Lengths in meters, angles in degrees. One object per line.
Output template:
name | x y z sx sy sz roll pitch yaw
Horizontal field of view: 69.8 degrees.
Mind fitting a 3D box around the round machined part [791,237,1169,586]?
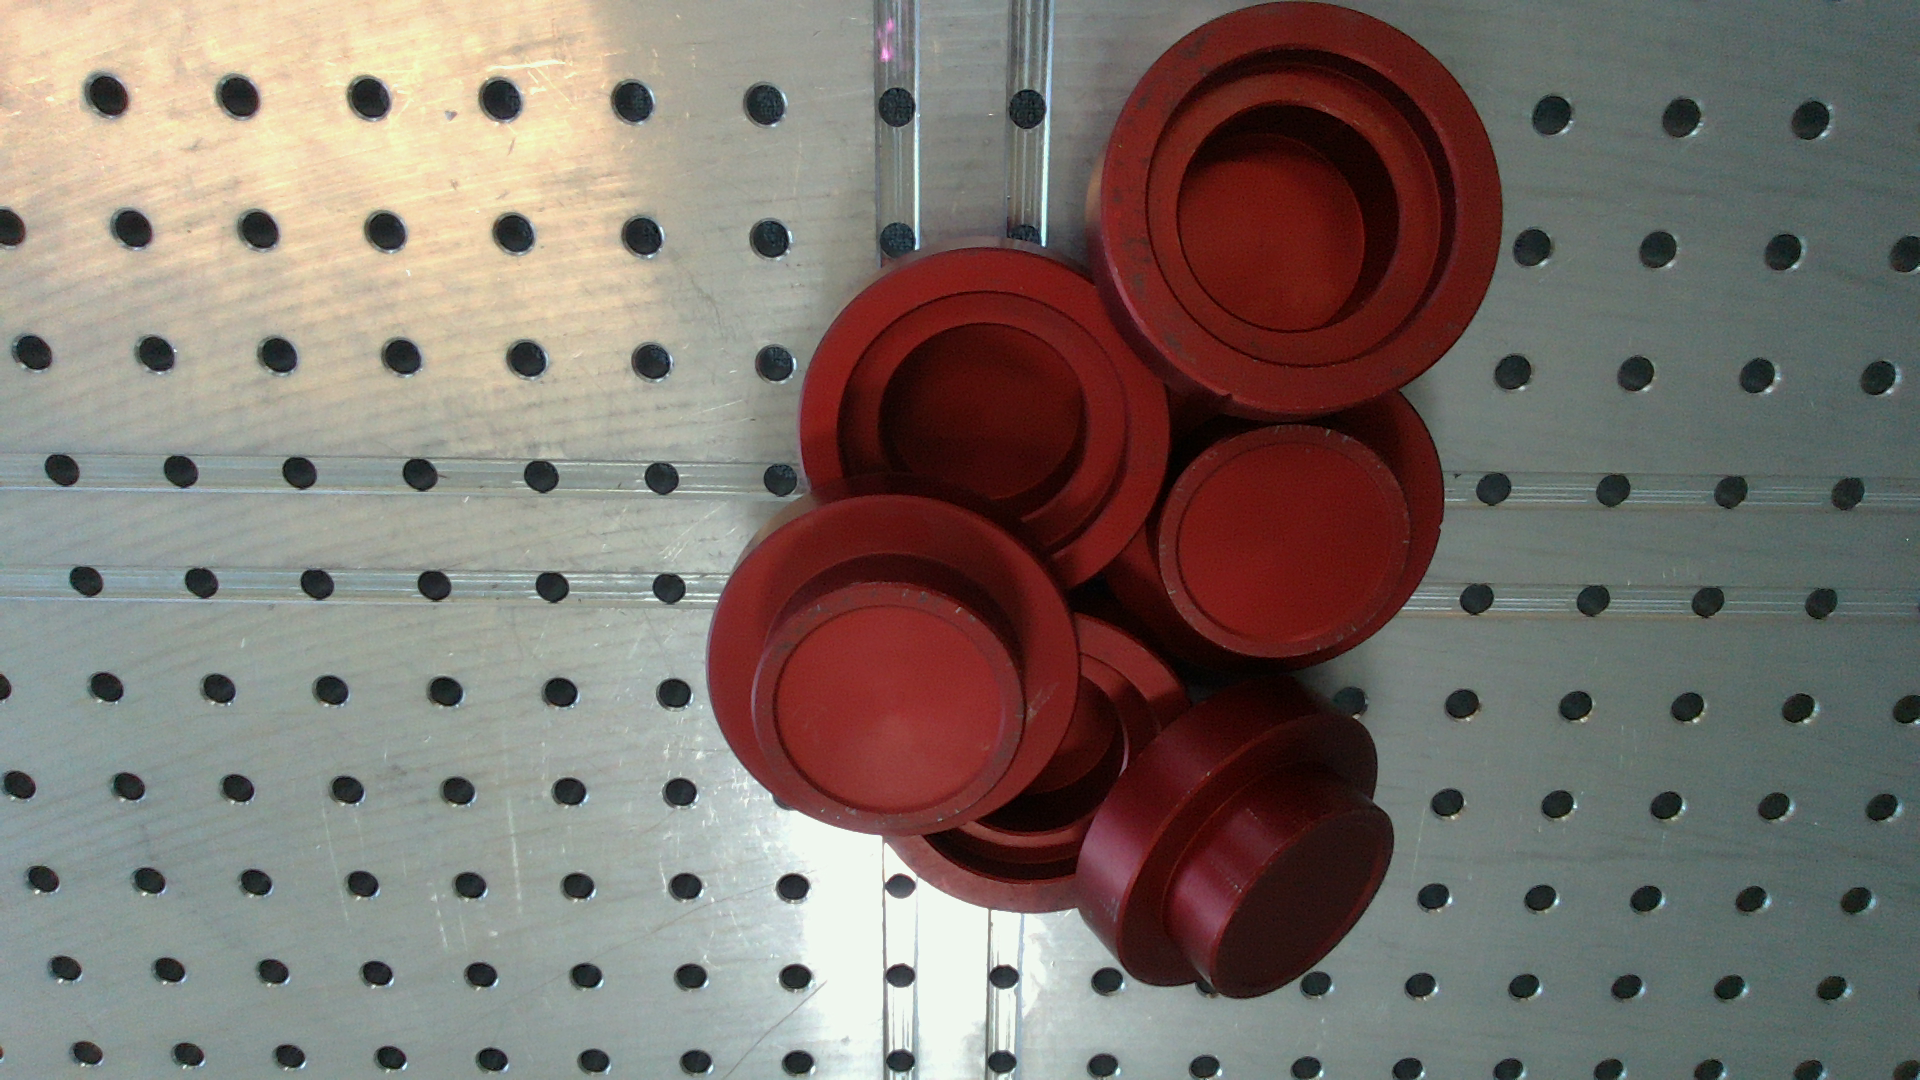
round machined part | 0.005 -0.034 0.375 0.098 0.042 0.098 0 110 0

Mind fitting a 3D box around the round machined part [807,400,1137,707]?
round machined part | -0.001 0.008 0.390 0.098 0.042 0.098 0 110 0

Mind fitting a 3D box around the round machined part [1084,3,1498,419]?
round machined part | 0.079 -0.079 0.347 0.098 0.042 0.098 0 89 -6

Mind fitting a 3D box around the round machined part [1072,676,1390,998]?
round machined part | 0.084 0.091 0.395 0.098 0.042 0.098 -20 130 -26

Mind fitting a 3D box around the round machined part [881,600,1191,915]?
round machined part | 0.020 0.058 0.409 0.098 0.042 0.098 0 110 0

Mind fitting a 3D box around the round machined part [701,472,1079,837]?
round machined part | -0.018 0.035 0.355 0.098 0.042 0.098 0 110 0

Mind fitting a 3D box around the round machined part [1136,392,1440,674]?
round machined part | 0.086 -0.006 0.385 0.098 0.042 0.098 0 110 0
